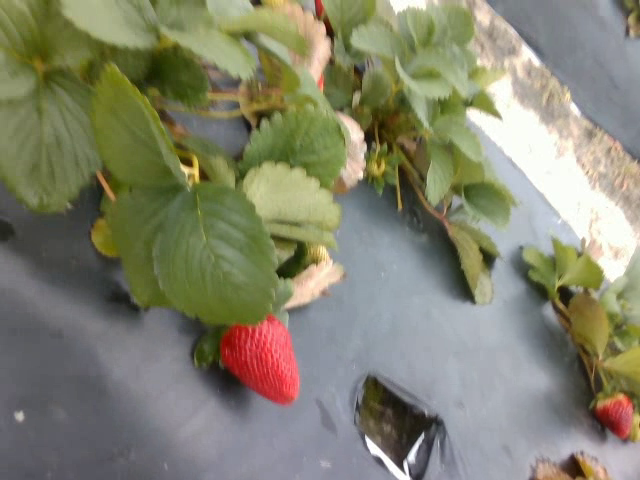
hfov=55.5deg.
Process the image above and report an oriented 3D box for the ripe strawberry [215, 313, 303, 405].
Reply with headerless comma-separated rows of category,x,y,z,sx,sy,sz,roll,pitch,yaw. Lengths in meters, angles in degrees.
ripe strawberry,-0.034,0.071,0.350,0.046,0.064,0.048,-38,-25,7
